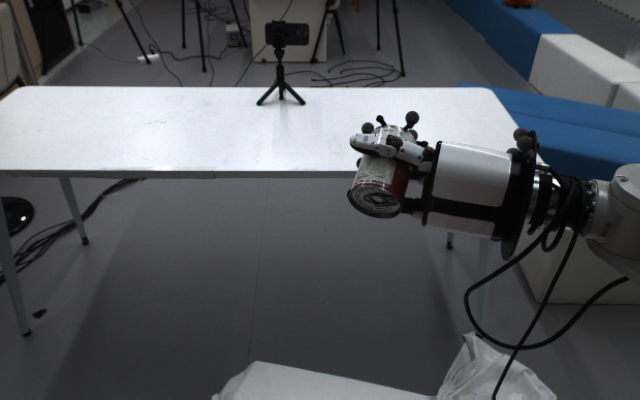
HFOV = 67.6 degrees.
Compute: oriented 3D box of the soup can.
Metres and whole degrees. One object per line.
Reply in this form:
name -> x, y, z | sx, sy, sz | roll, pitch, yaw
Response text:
soup can -> 0.082, -0.039, 0.619 | 0.067, 0.067, 0.101 | 12, 59, 14
